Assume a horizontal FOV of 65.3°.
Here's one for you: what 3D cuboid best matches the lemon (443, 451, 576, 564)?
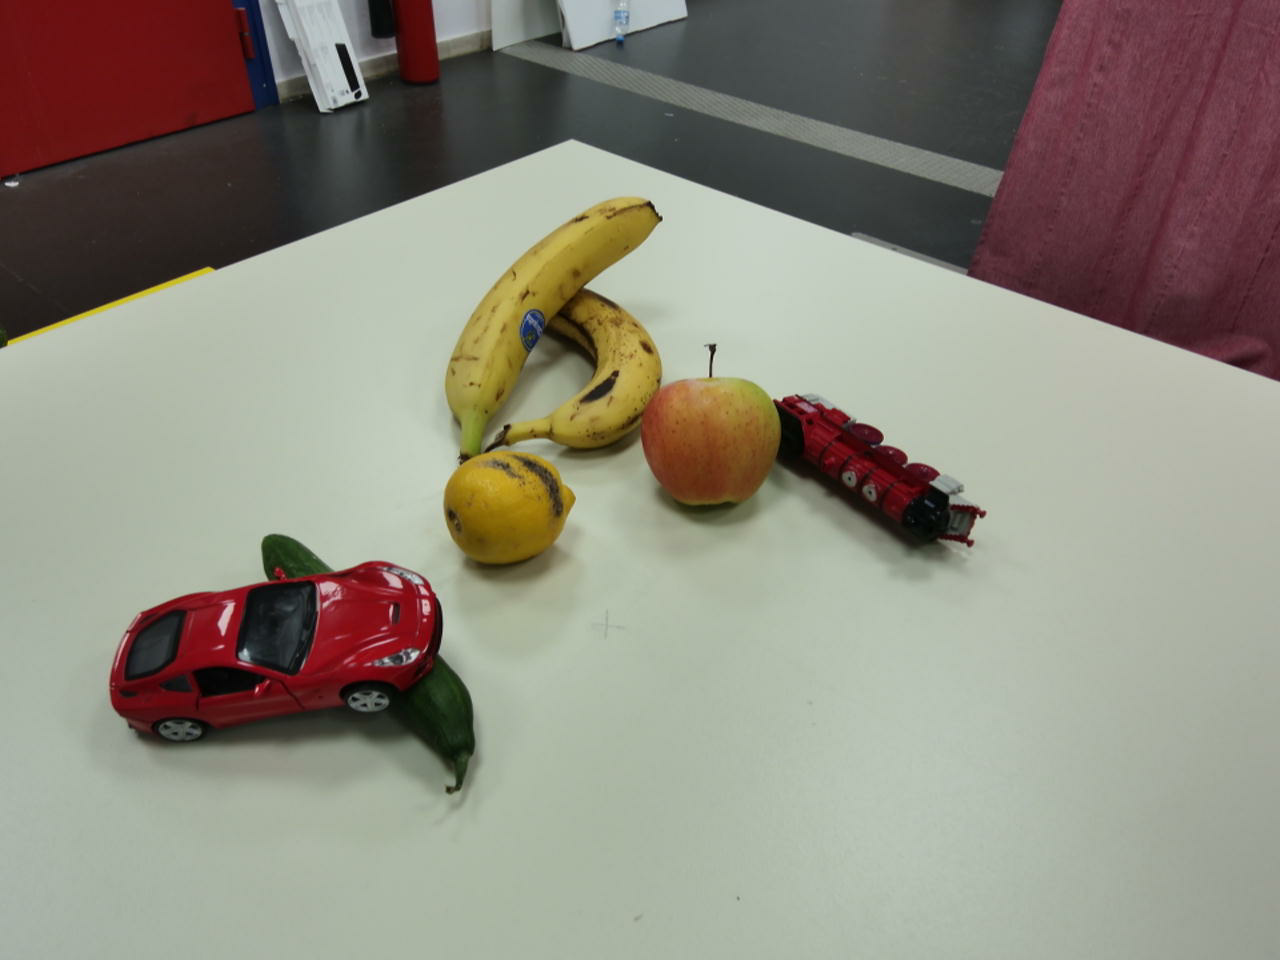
[{"bbox_3d":[-0.067,0.013,0.497,0.058,0.056,0.061,22,42,25],"label":"lemon"}]
